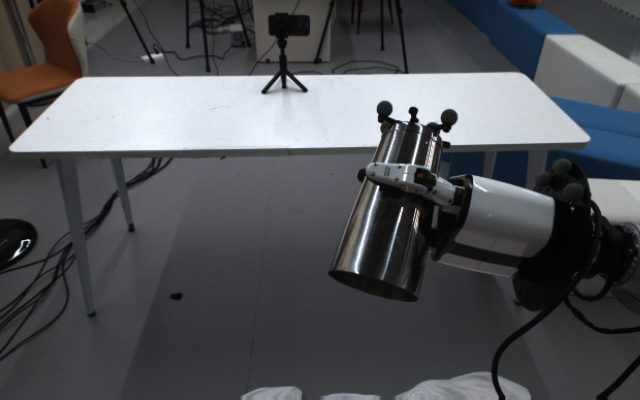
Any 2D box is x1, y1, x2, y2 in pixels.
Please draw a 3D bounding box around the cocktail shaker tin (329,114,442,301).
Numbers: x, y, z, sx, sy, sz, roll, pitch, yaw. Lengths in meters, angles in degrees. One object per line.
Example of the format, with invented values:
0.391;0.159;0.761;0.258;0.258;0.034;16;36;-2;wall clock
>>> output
0.076;0.008;0.500;0.093;0.093;0.170;13;70;15;cocktail shaker tin
